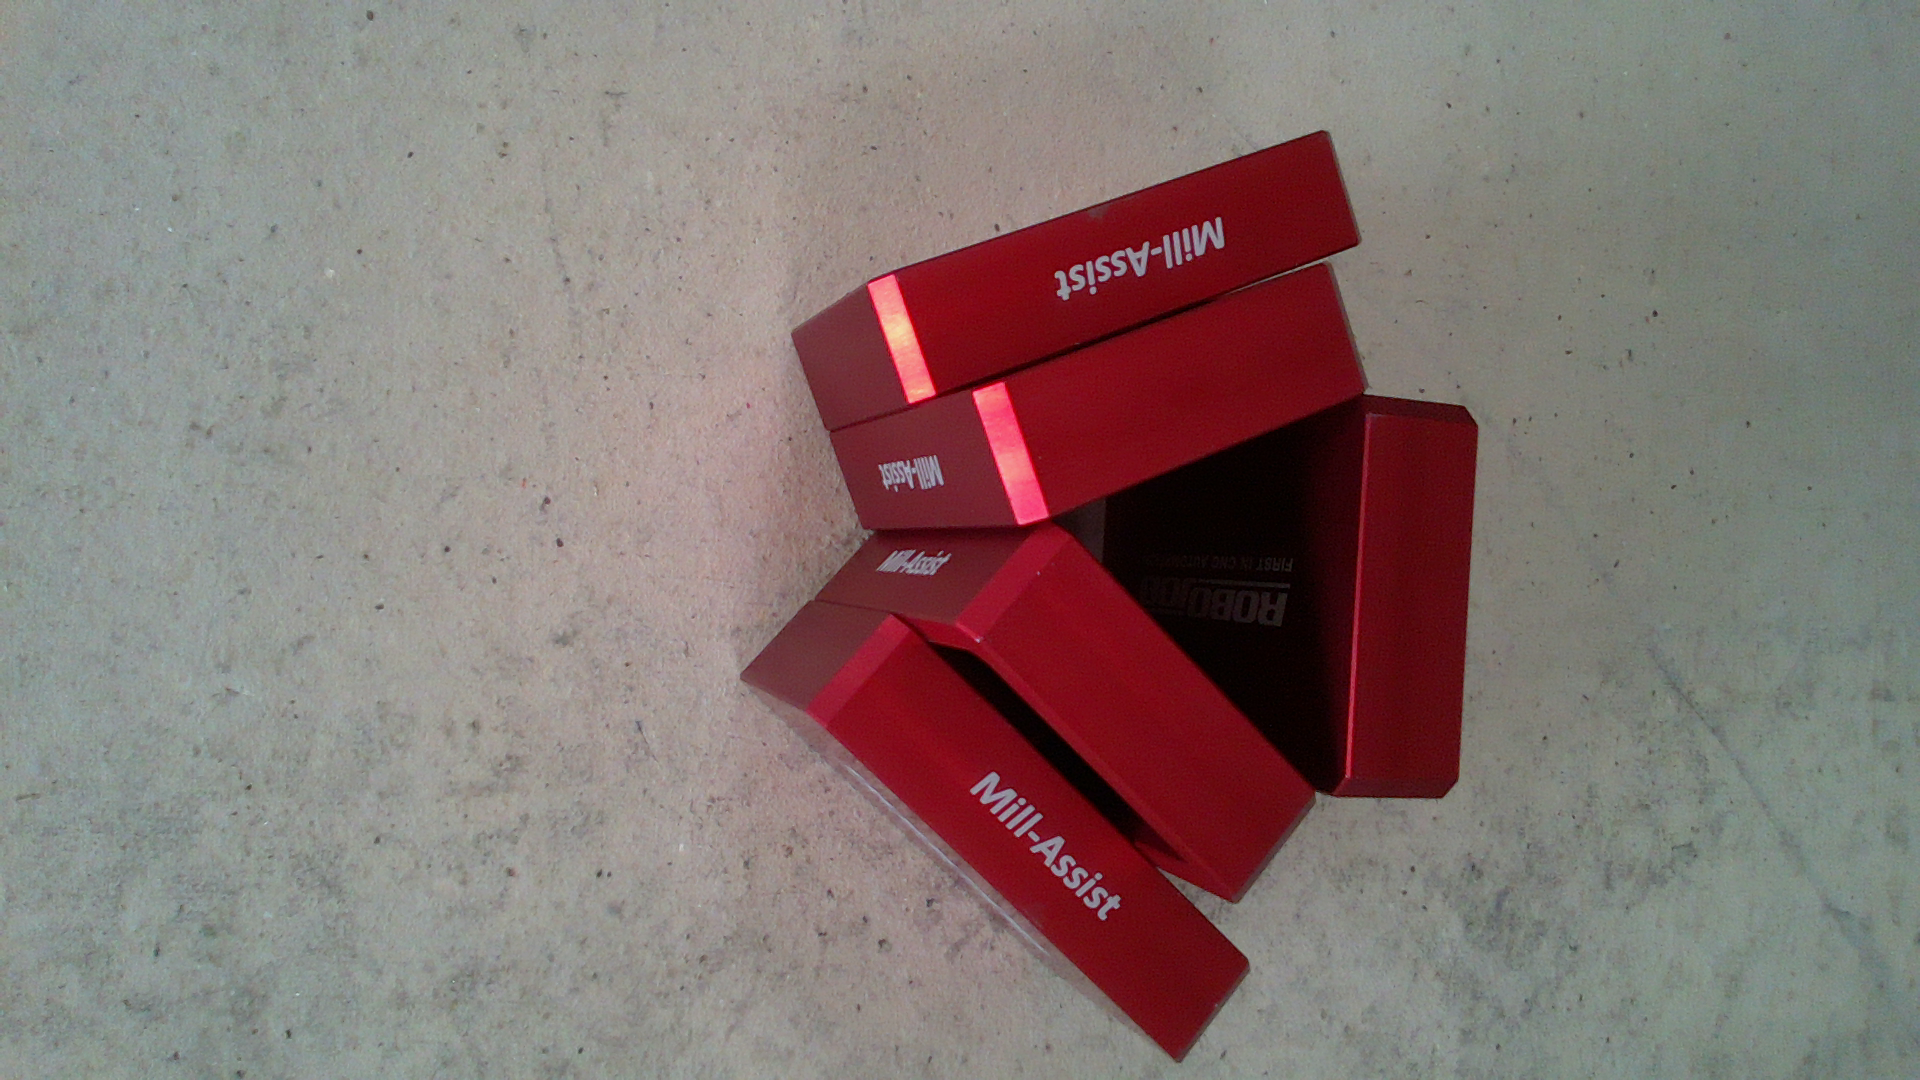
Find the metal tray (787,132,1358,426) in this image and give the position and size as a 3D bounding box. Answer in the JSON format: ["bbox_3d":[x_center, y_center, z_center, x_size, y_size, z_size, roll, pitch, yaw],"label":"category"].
[{"bbox_3d":[0.027,-0.068,0.369,0.130,0.090,0.030,-21,97,-19],"label":"metal tray"}]

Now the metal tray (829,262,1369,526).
[{"bbox_3d":[0.027,-0.033,0.347,0.090,0.130,0.030,-22,98,-18],"label":"metal tray"}]

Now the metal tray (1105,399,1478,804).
[{"bbox_3d":[0.079,0.014,0.366,0.030,0.130,0.090,5,89,-20],"label":"metal tray"}]

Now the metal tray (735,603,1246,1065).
[{"bbox_3d":[0.005,0.073,0.360,0.130,0.090,0.030,46,76,-14],"label":"metal tray"}]

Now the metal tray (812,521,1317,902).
[{"bbox_3d":[0.019,0.037,0.345,0.090,0.130,0.030,45,76,-14],"label":"metal tray"}]
